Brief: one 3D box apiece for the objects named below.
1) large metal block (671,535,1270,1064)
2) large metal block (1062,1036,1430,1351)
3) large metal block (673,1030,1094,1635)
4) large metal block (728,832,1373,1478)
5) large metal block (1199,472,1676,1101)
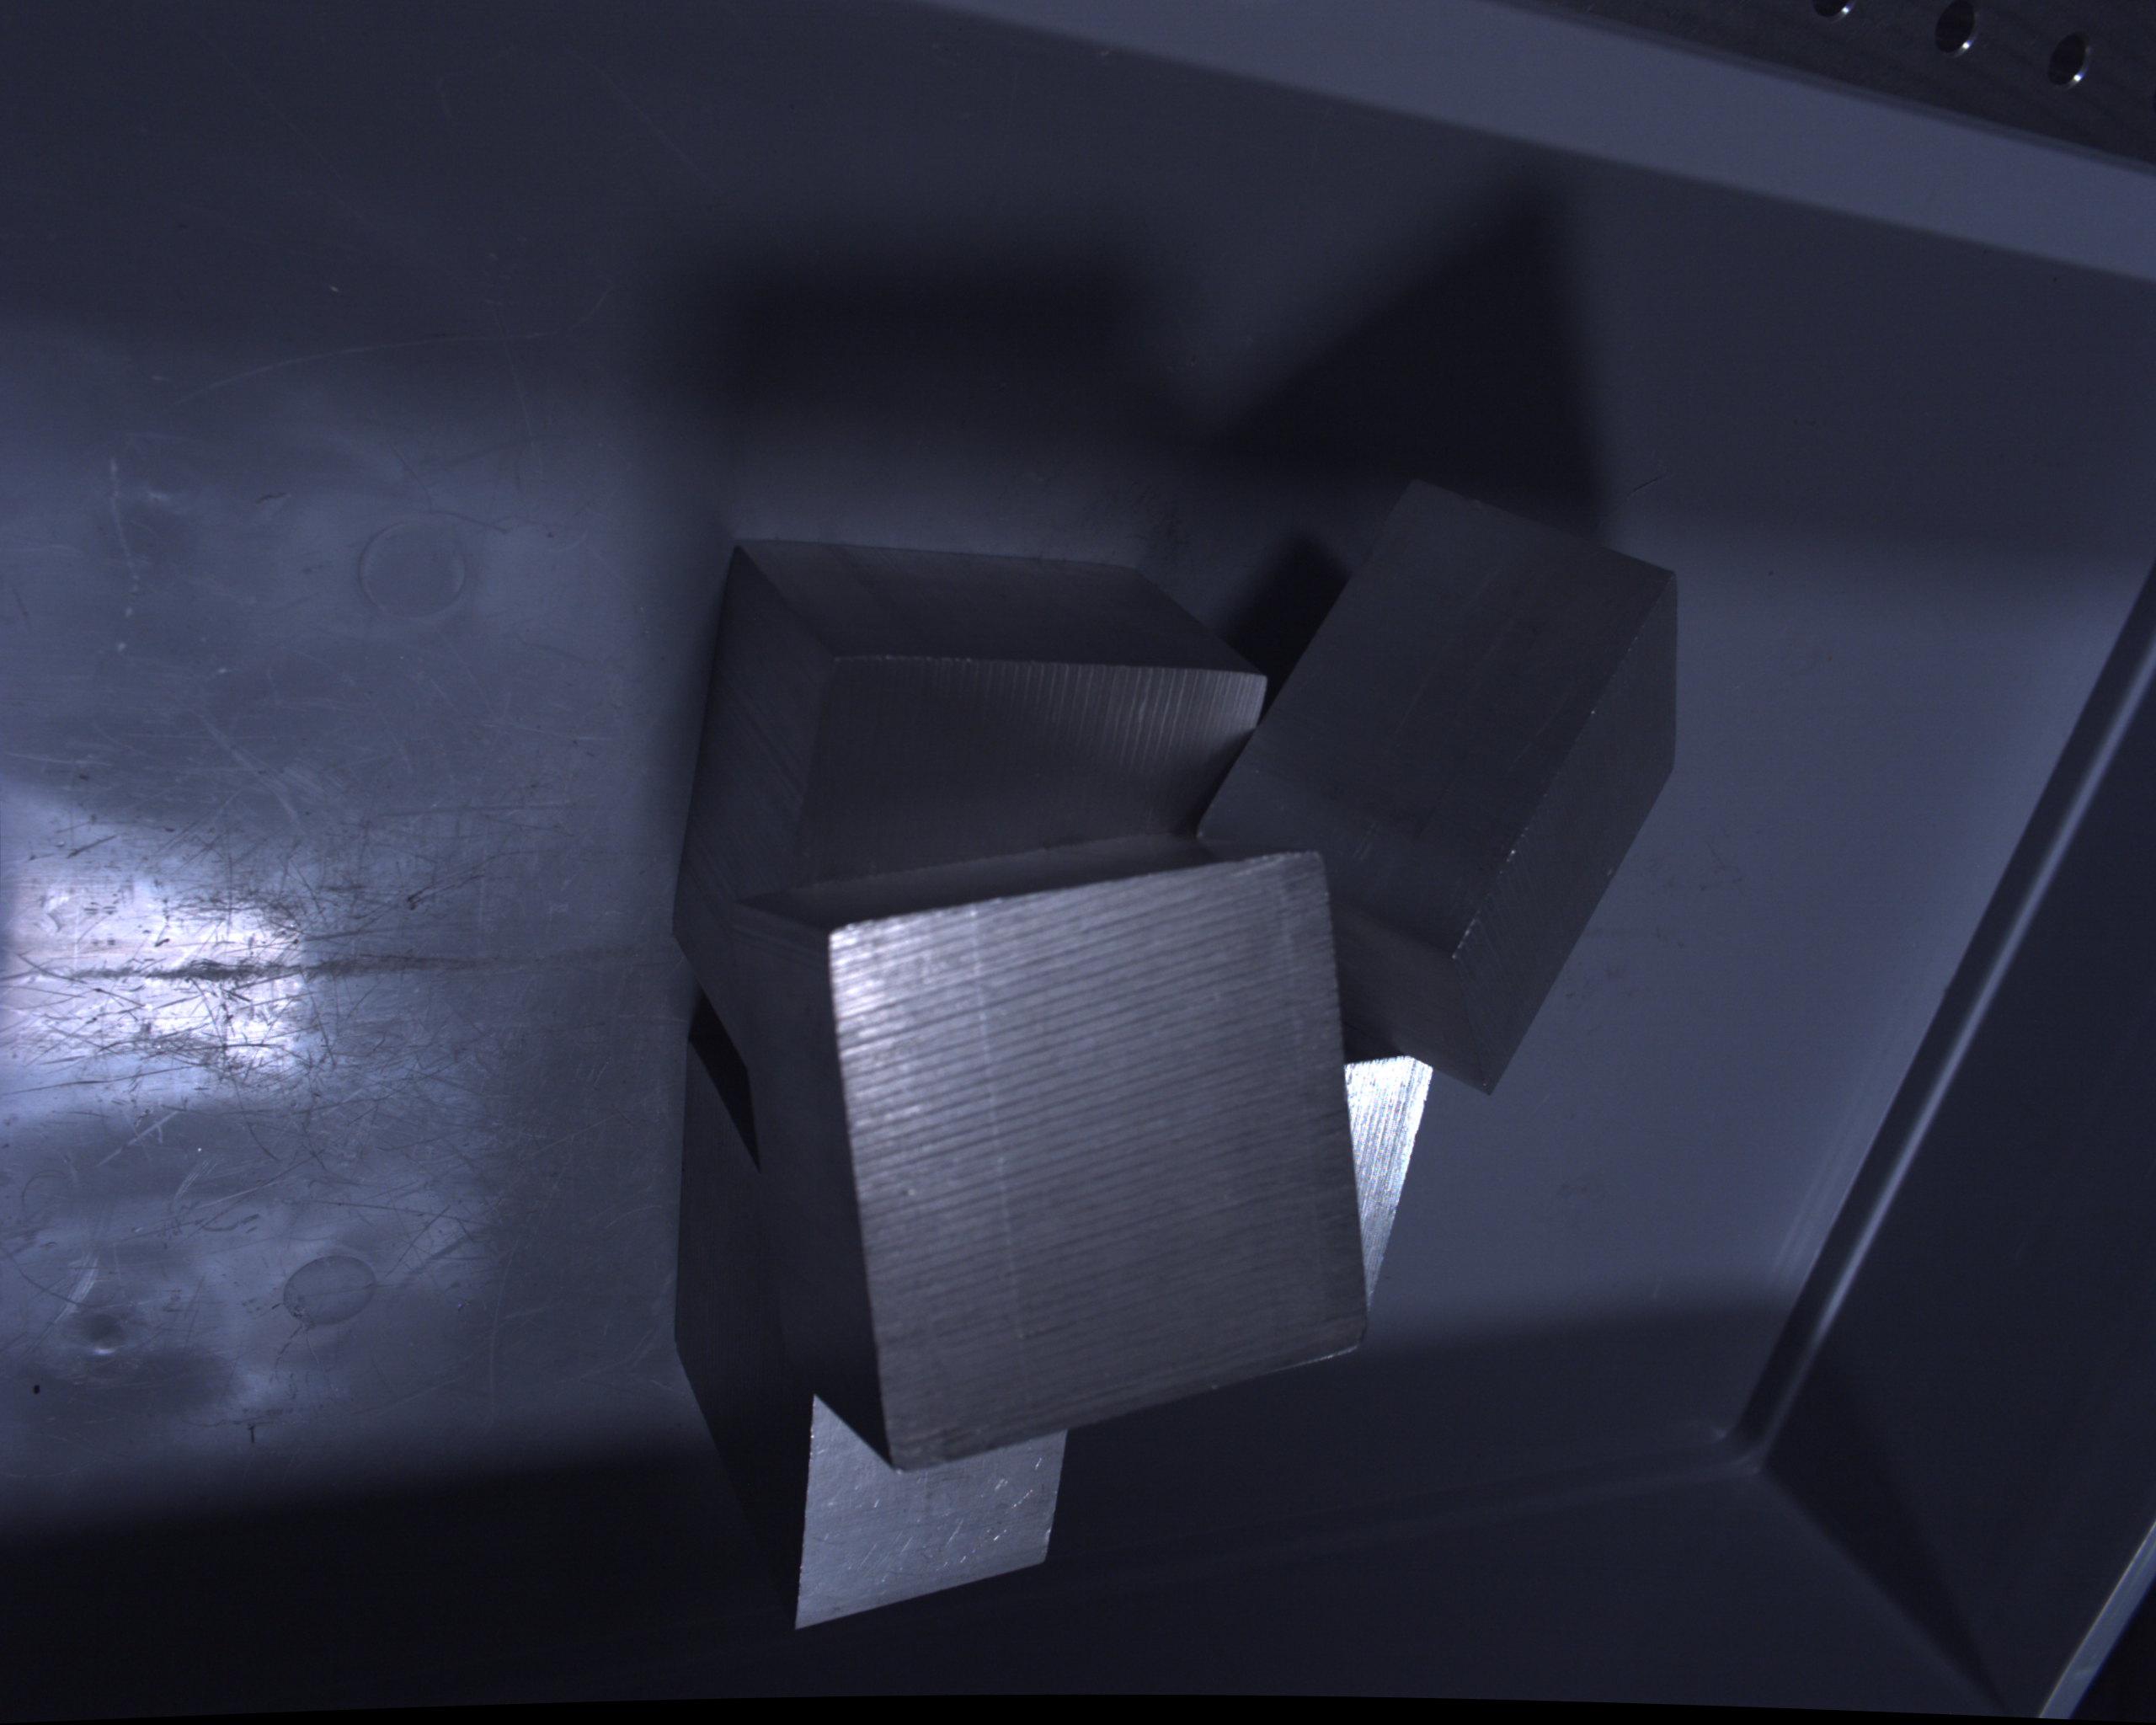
[{"bbox_3d":[-0.022,-0.010,0.374,0.081,0.050,0.079,-1,119,-28],"label":"large metal block"},{"bbox_3d":[0.020,0.064,0.440,0.081,0.050,0.079,-5,121,-26],"label":"large metal block"},{"bbox_3d":[-0.041,0.084,0.402,0.050,0.080,0.079,-7,122,-26],"label":"large metal block"},{"bbox_3d":[-0.005,0.041,0.330,0.081,0.050,0.079,-9,97,-24],"label":"large metal block"},{"bbox_3d":[0.070,-0.012,0.391,0.080,0.050,0.080,-58,155,-13],"label":"large metal block"}]
